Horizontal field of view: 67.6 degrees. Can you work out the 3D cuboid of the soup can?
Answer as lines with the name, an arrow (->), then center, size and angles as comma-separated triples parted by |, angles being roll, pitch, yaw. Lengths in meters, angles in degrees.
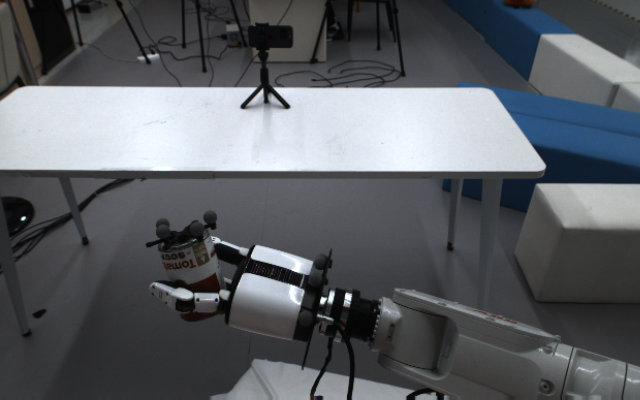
soup can -> -0.159, 0.096, 0.625 | 0.067, 0.101, 0.067 | -12, 17, 4
